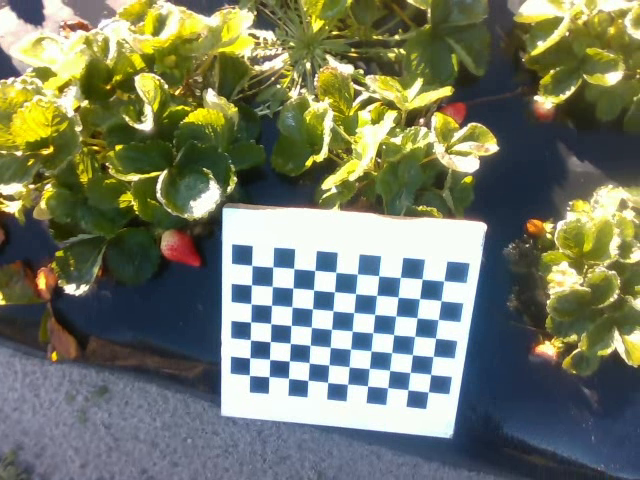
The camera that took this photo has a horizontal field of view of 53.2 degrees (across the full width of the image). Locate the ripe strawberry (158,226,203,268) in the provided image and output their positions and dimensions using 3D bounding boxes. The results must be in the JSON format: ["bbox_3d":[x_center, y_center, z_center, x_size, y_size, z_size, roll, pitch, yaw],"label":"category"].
[{"bbox_3d":[-0.175,0.017,0.782,0.040,0.065,0.040,-44,10,15],"label":"ripe strawberry"}]
